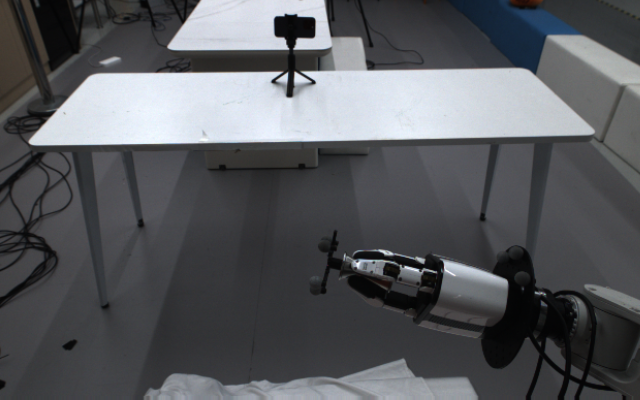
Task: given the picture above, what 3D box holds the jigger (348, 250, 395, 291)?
[{"bbox_3d":[0.068,0.091,0.640,0.071,0.043,0.043,13,36,4],"label":"jigger"}]
